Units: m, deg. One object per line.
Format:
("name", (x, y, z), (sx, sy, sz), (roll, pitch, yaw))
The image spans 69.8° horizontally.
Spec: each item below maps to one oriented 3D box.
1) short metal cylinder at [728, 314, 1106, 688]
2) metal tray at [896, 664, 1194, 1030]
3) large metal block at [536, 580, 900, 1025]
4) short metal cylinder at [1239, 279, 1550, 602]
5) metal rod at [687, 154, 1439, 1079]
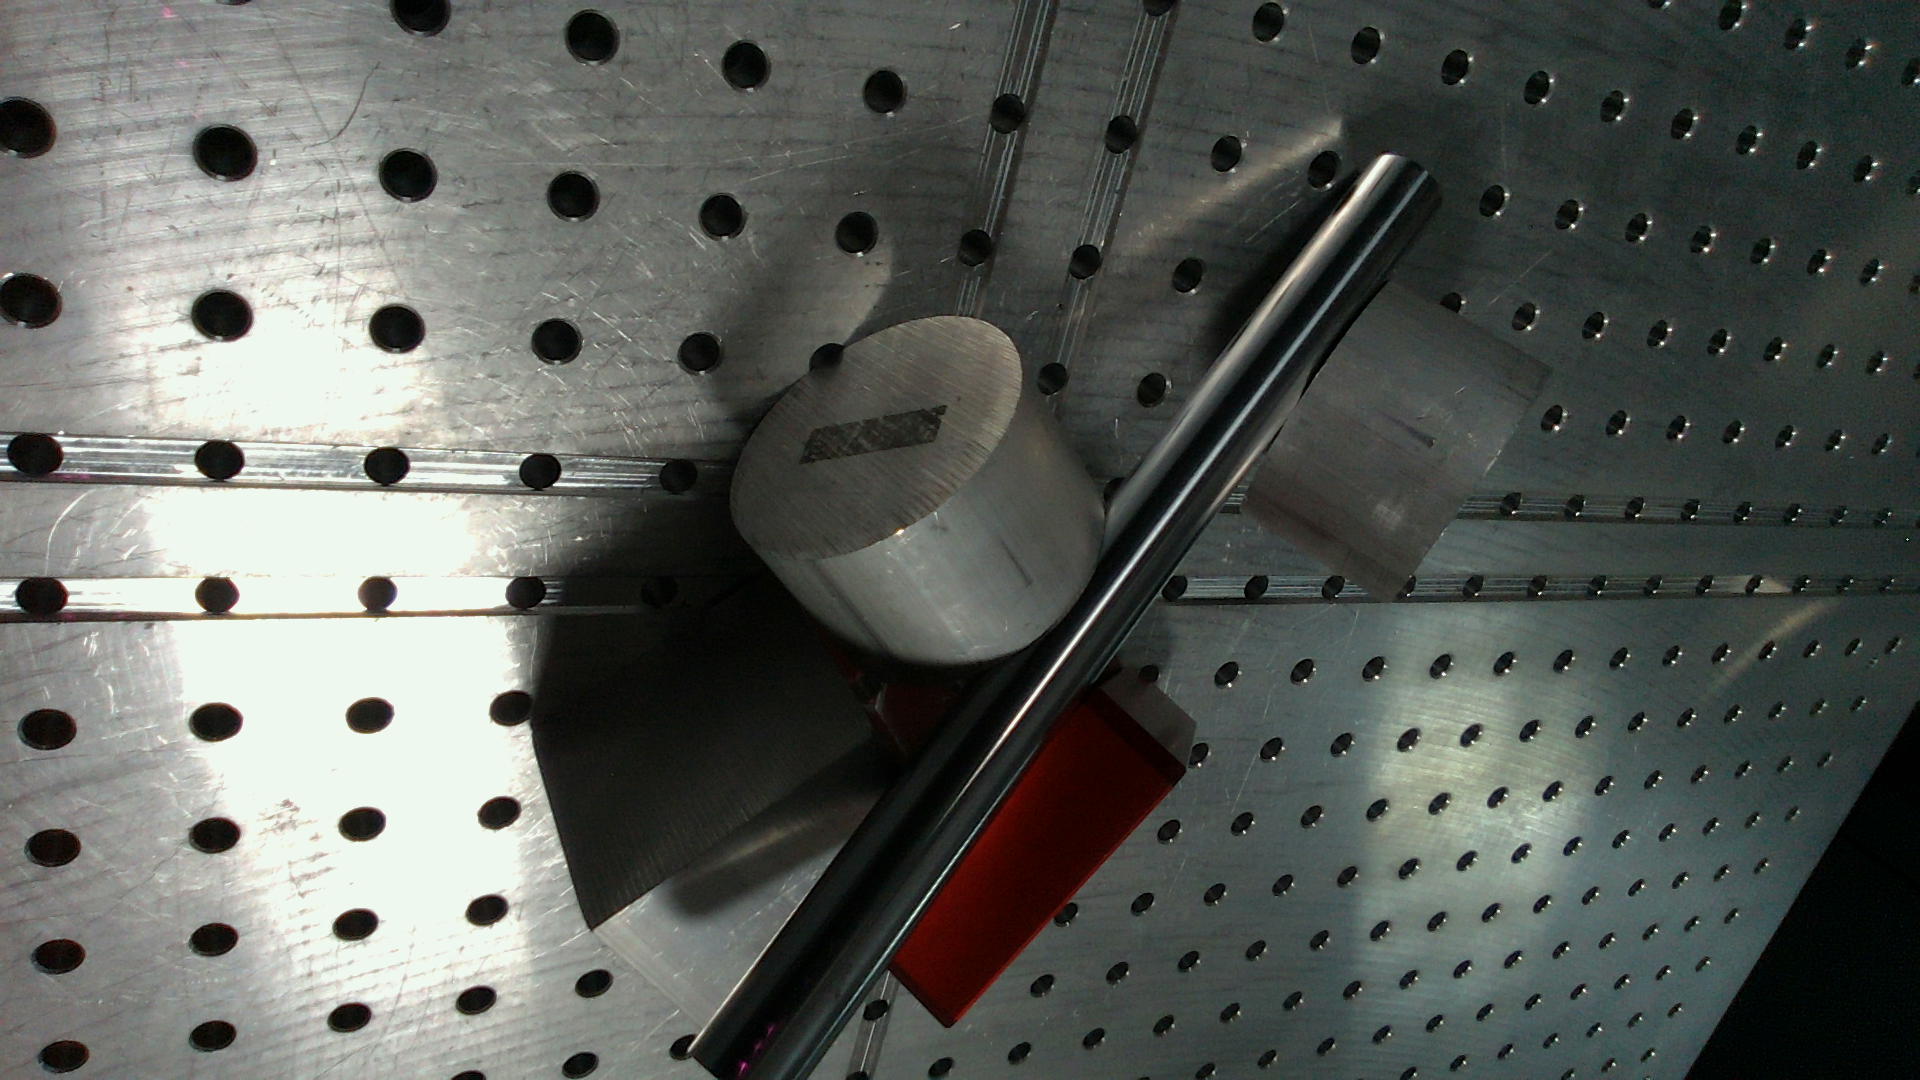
("short metal cylinder", (-0.010, -0.010, 0.345), (0.080, 0.080, 0.050), (-37, 129, -3))
("metal tray", (0.028, 0.082, 0.403), (0.090, 0.030, 0.130), (-49, 171, 6))
("large metal block", (-0.057, 0.067, 0.366), (0.080, 0.080, 0.050), (-34, 129, -6))
("short metal cylinder", (0.125, -0.028, 0.401), (0.080, 0.050, 0.080), (-51, 166, -18))
("metal rod", (0.039, 0.009, 0.350), (0.301, 0.025, 0.025), (-51, 132, -19))
